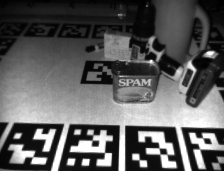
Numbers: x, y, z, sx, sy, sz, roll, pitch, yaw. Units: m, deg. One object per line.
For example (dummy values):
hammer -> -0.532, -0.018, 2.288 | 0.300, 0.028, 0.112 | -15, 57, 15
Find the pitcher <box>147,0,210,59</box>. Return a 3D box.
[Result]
pitcher -> 0.161, -0.185, 0.561 | 0.186, 0.244, 0.134 | 21, 52, 29

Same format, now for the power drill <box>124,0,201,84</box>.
power drill -> 0.108, -0.098, 0.504 | 0.185, 0.185, 0.058 | 31, 55, 21

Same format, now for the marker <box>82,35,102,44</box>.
marker -> -0.034, -0.151, 0.670 | 0.122, 0.020, 0.019 | -19, 48, -17

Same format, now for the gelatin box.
gelatin box -> 0.017, -0.129, 0.614 | 0.089, 0.073, 0.030 | 10, 49, 7

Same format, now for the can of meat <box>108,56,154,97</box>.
can of meat -> 0.038, -0.021, 0.492 | 0.102, 0.084, 0.057 | 1, 43, 0
